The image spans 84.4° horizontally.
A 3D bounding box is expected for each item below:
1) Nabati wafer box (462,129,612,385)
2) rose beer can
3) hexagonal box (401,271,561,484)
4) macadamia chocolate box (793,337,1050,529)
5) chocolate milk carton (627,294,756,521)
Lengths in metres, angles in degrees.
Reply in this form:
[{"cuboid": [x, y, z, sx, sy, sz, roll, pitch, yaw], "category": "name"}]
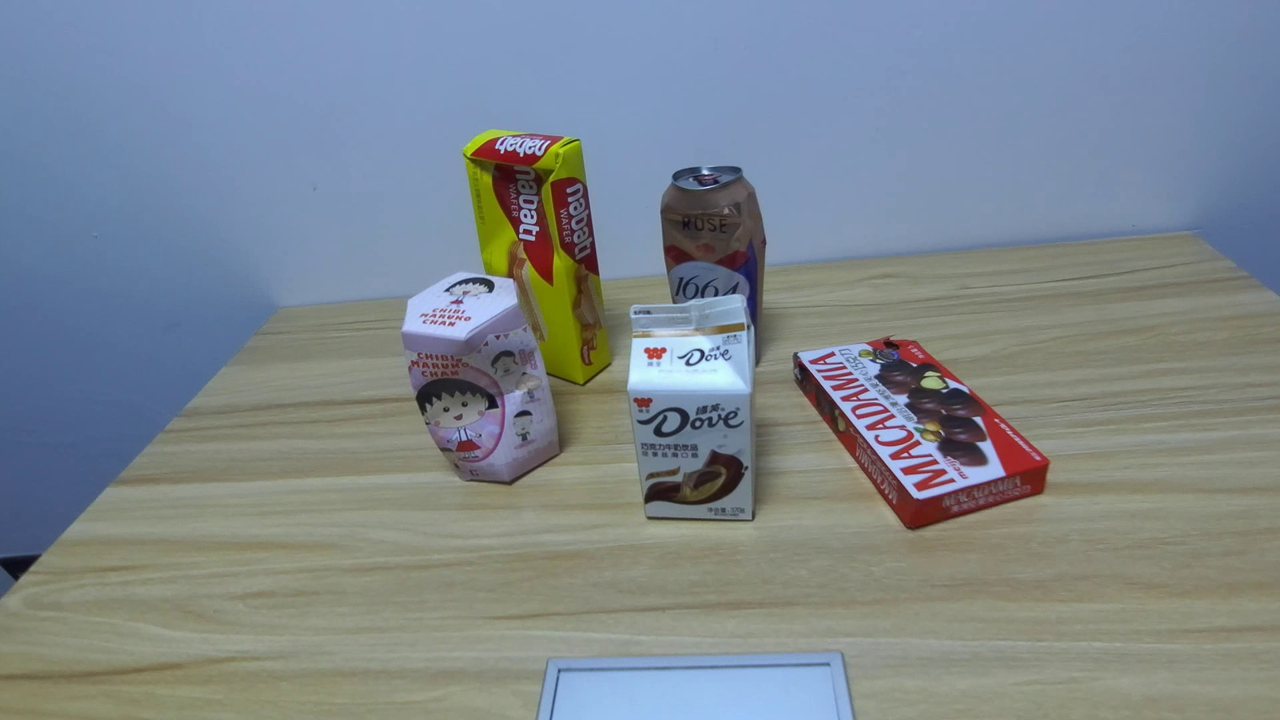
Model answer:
[{"cuboid": [-0.083, -0.080, 0.584, 0.096, 0.204, 0.042, 18, 39, 32], "category": "Nabati wafer box"}, {"cuboid": [0.061, -0.069, 0.565, 0.075, 0.167, 0.065, 18, 40, 36], "category": "rose beer can"}, {"cuboid": [-0.116, 0.014, 0.517, 0.089, 0.135, 0.093, -17, 36, -11], "category": "hexagonal box"}, {"cuboid": [0.191, 0.036, 0.510, 0.103, 0.027, 0.186, -12, 34, -8], "category": "macadamia chocolate box"}, {"cuboid": [0.036, 0.024, 0.450, 0.075, 0.148, 0.074, 0, 35, 10], "category": "chocolate milk carton"}]
